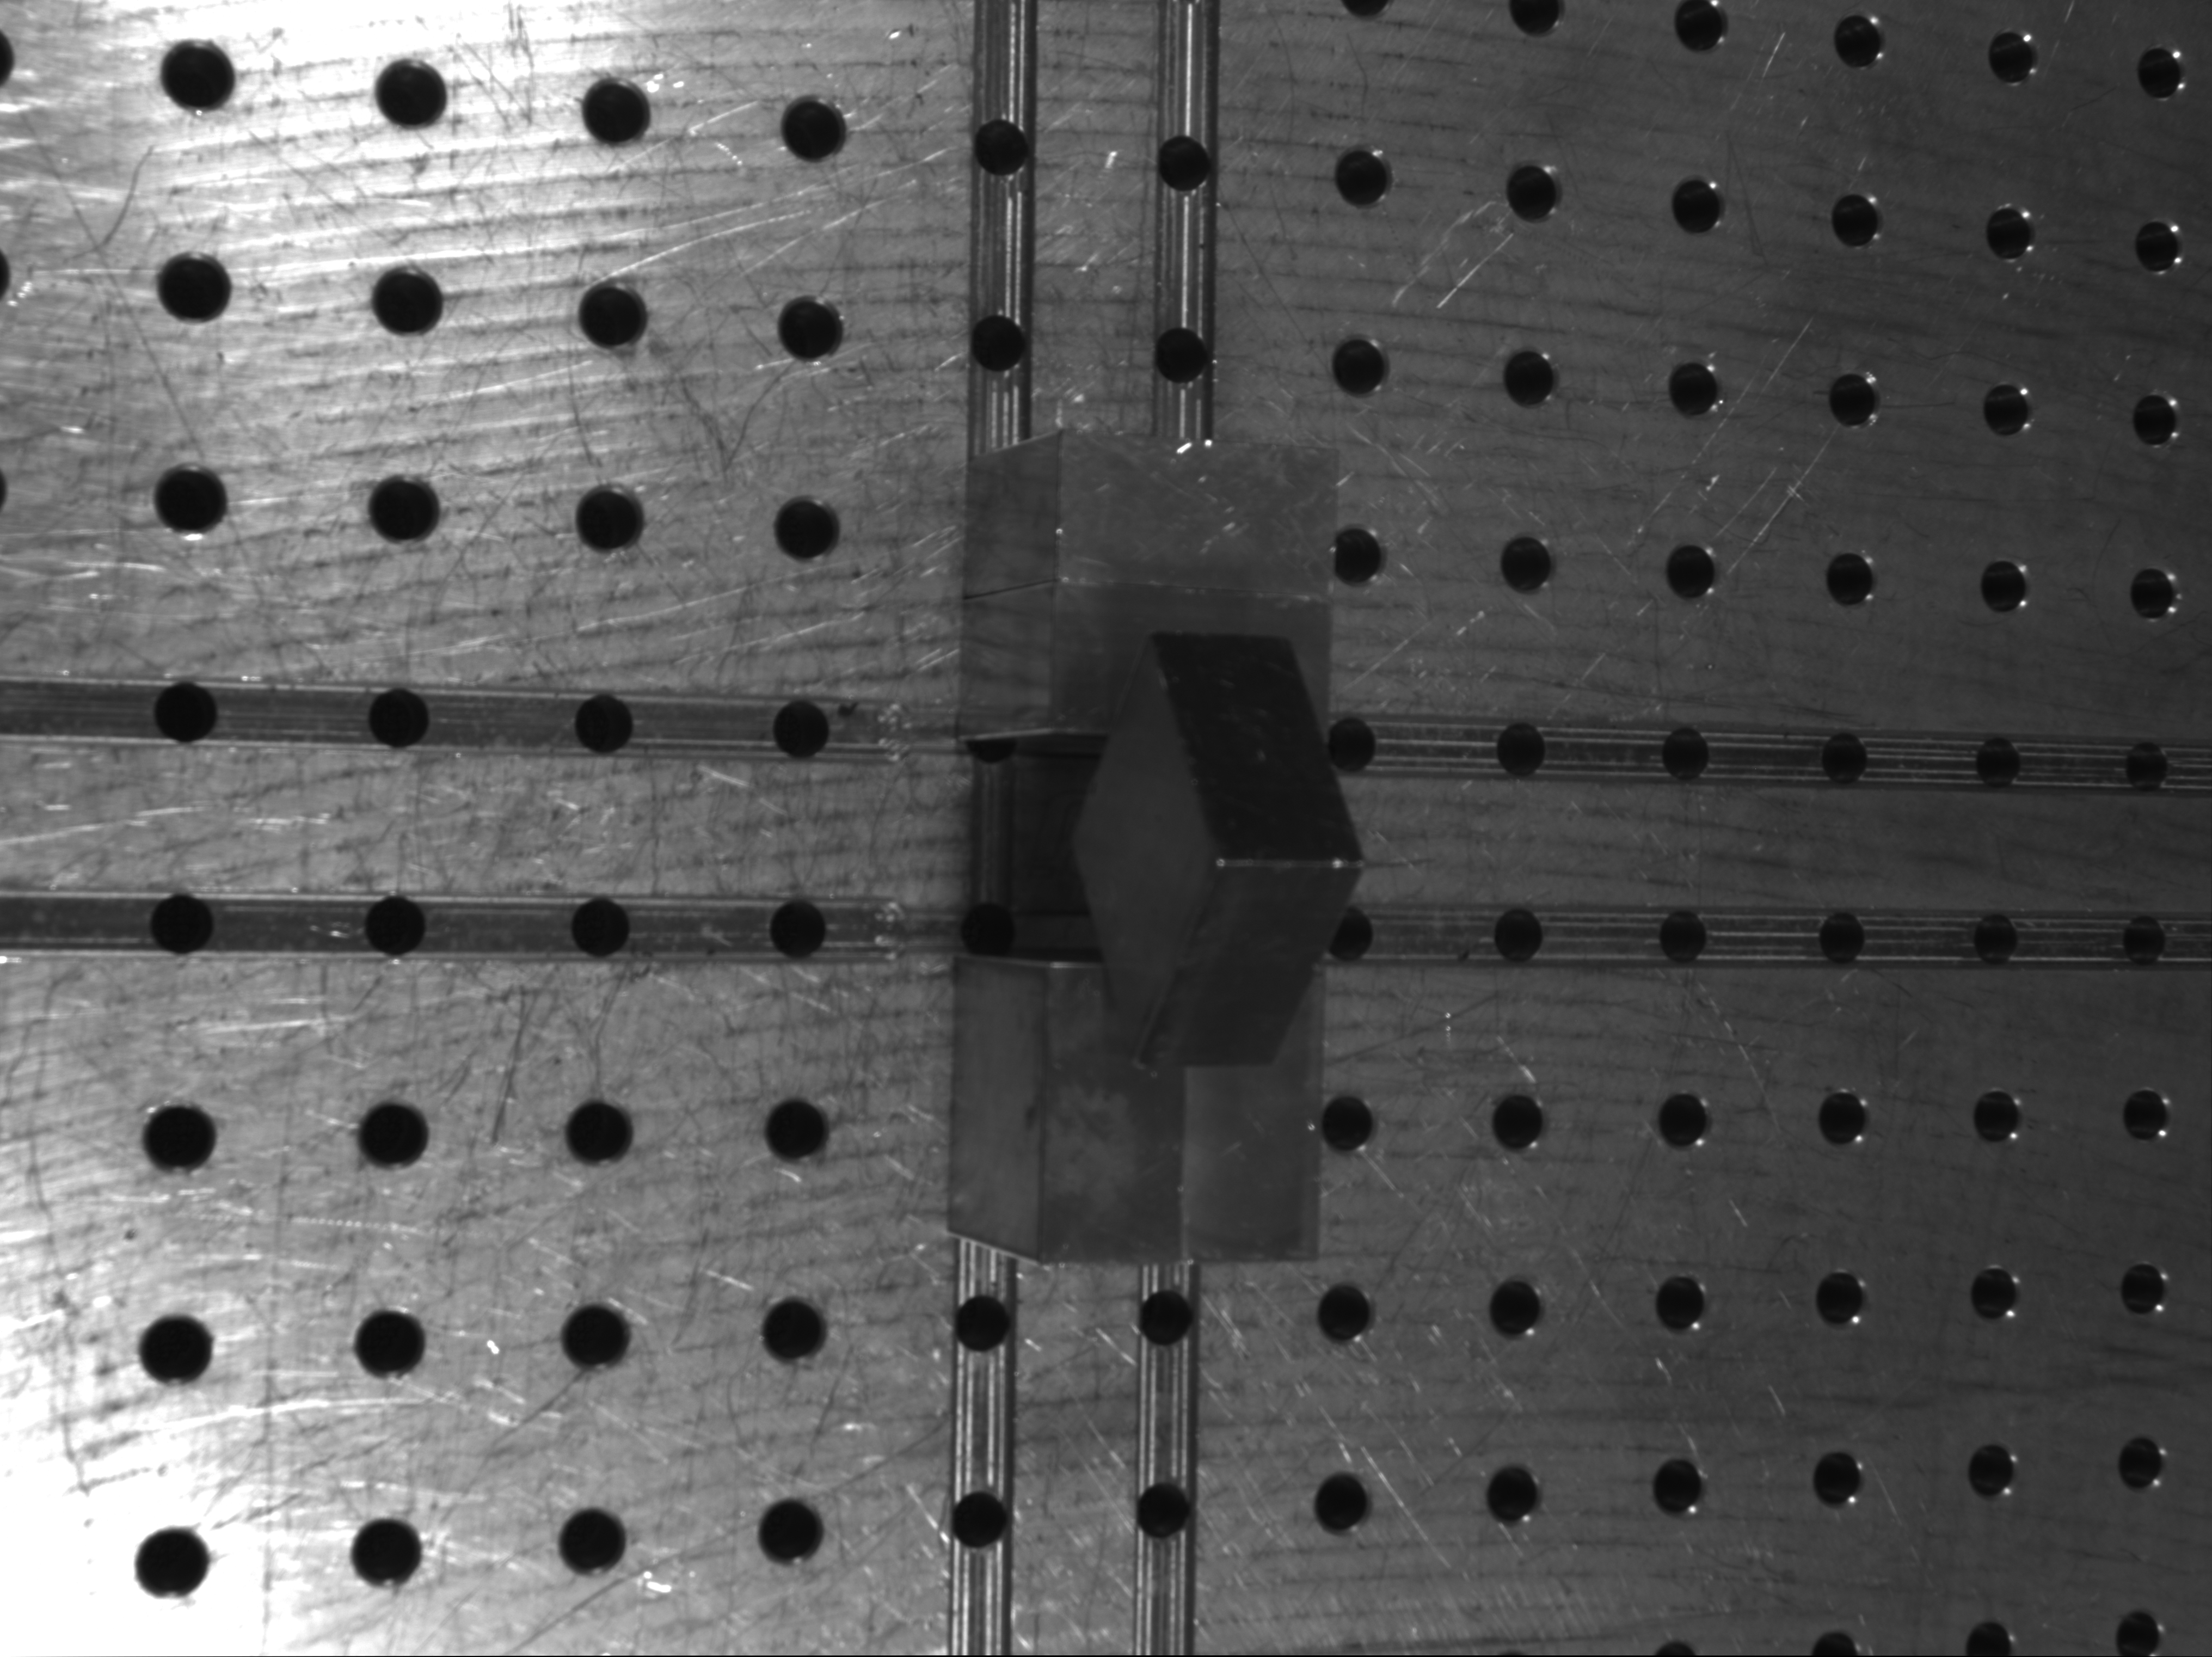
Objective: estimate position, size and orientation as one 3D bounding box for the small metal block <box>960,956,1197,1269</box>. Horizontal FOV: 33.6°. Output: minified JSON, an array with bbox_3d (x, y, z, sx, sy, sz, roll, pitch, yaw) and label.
[{"bbox_3d":[-0.005,0.048,0.630,0.025,0.050,0.050,2,89,-20],"label":"small metal block"}]

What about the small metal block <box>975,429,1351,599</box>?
[{"bbox_3d":[0.009,-0.052,0.635,0.050,0.050,0.025,2,89,-20],"label":"small metal block"}]

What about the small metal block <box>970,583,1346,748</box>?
[{"bbox_3d":[0.008,-0.027,0.635,0.050,0.050,0.025,2,89,-20],"label":"small metal block"}]

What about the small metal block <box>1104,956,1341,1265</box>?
[{"bbox_3d":[0.019,0.048,0.638,0.025,0.050,0.050,2,89,-20],"label":"small metal block"}]

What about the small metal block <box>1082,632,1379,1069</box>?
[{"bbox_3d":[0.019,0.004,0.595,0.025,0.050,0.050,1,47,-19],"label":"small metal block"}]
